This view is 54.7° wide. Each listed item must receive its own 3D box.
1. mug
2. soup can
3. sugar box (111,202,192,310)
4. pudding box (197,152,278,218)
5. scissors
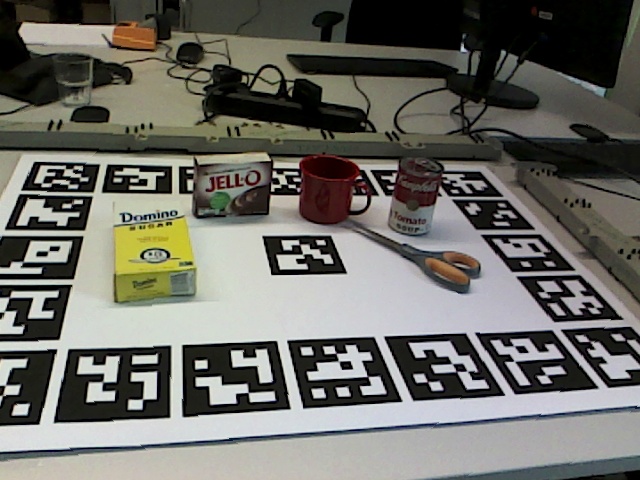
[{"bbox_3d":[0.021,-0.079,0.950,0.118,0.081,0.093,30,42,33],"label":"mug"},{"bbox_3d":[0.141,-0.061,0.940,0.068,0.102,0.068,4,32,-3],"label":"soup can"},{"bbox_3d":[-0.220,0.014,0.801,0.092,0.045,0.177,-4,36,-14],"label":"sugar box"},{"bbox_3d":[-0.124,-0.083,0.914,0.113,0.090,0.039,-6,42,-21],"label":"pudding box"},{"bbox_3d":[0.134,0.021,0.876,0.204,0.016,0.087,28,48,27],"label":"scissors"}]
